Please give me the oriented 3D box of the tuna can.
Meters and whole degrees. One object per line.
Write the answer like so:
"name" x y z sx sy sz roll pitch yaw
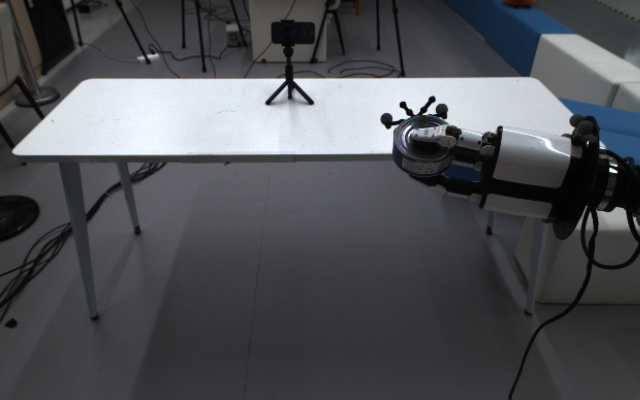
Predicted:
"tuna can" 0.145 -0.077 0.664 0.085 0.034 0.085 -3 59 5
